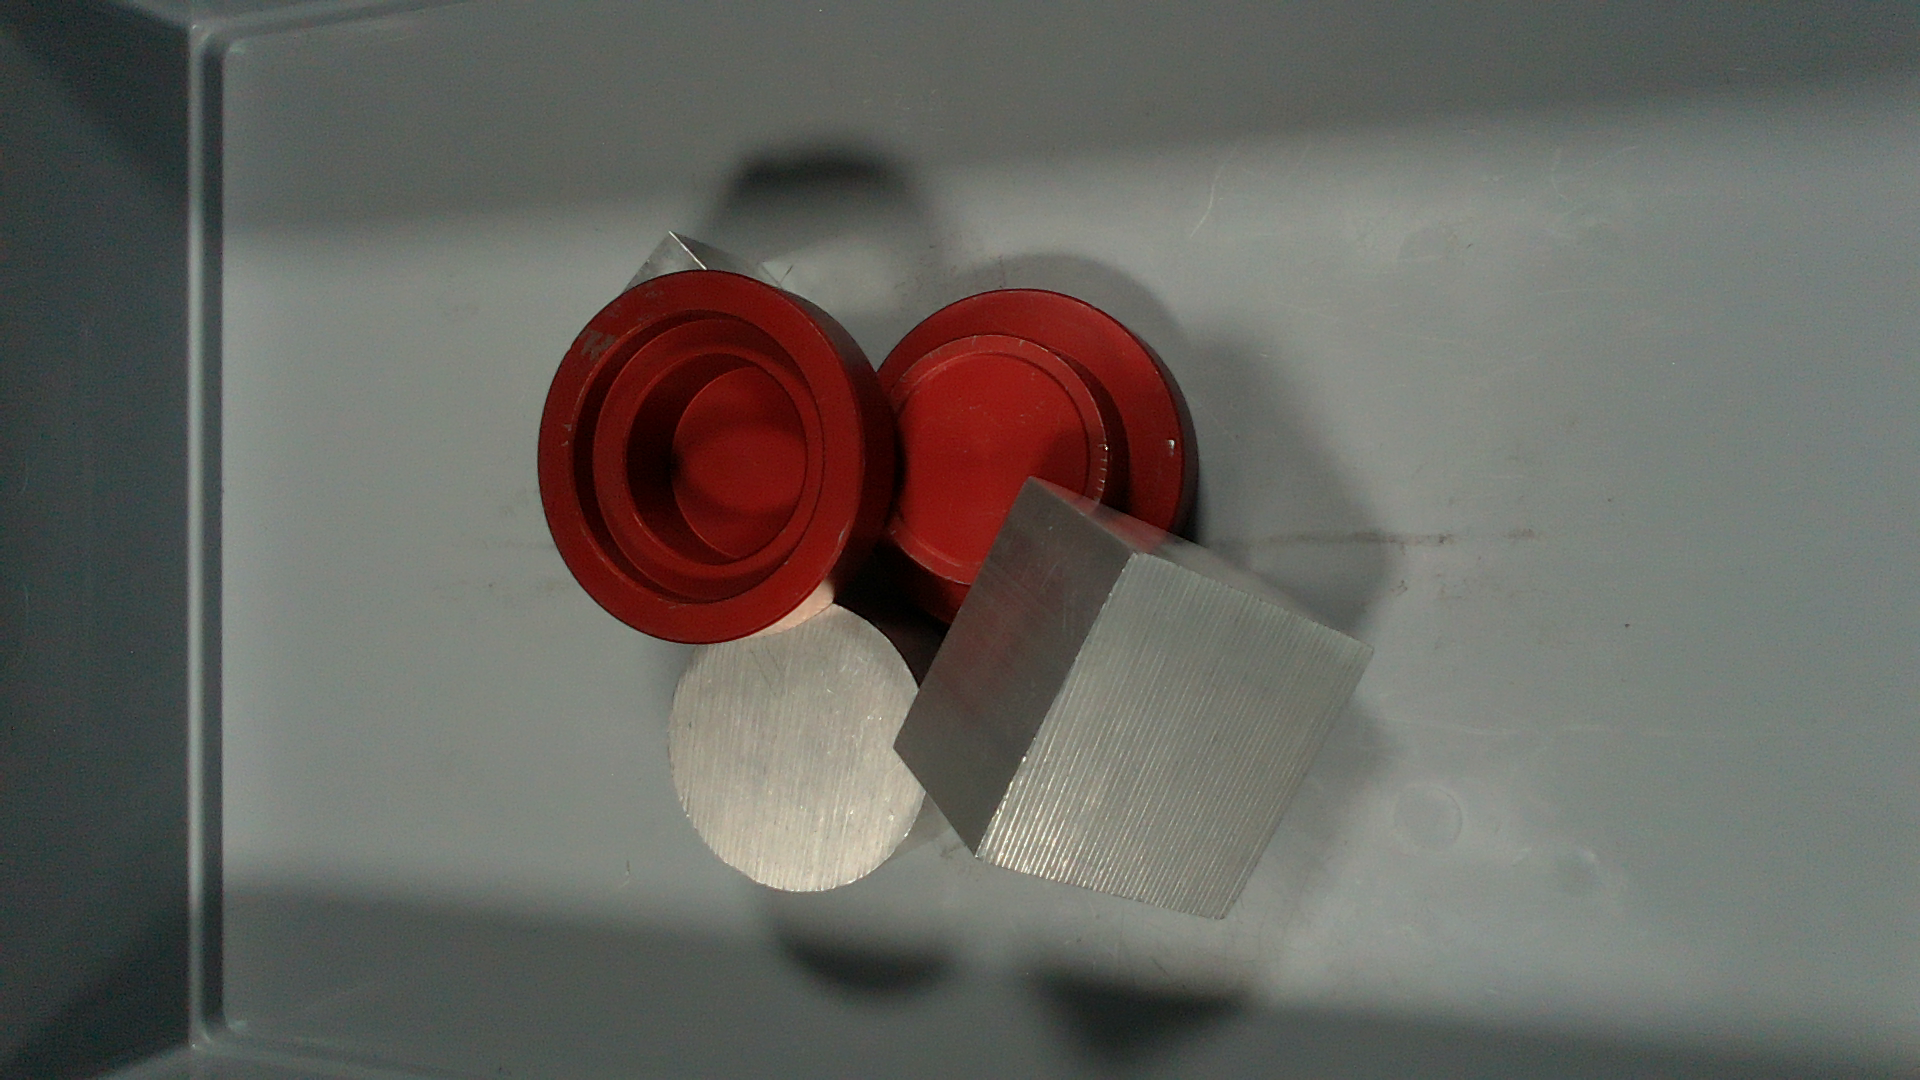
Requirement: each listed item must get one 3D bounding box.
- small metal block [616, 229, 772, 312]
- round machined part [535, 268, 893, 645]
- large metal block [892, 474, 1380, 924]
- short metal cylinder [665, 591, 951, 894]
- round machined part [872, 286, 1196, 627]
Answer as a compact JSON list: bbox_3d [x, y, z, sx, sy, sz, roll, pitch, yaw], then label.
[{"bbox_3d":[-0.081,-0.060,0.410,0.025,0.050,0.050,46,105,14],"label":"small metal block"},{"bbox_3d":[-0.063,-0.022,0.377,0.098,0.042,0.098,0,90,20],"label":"round machined part"},{"bbox_3d":[0.043,0.041,0.343,0.080,0.080,0.050,-63,31,9],"label":"large metal block"},{"bbox_3d":[-0.036,0.055,0.394,0.080,0.050,0.080,0,90,20],"label":"short metal cylinder"},{"bbox_3d":[0.013,-0.021,0.379,0.098,0.042,0.098,0,90,20],"label":"round machined part"}]
